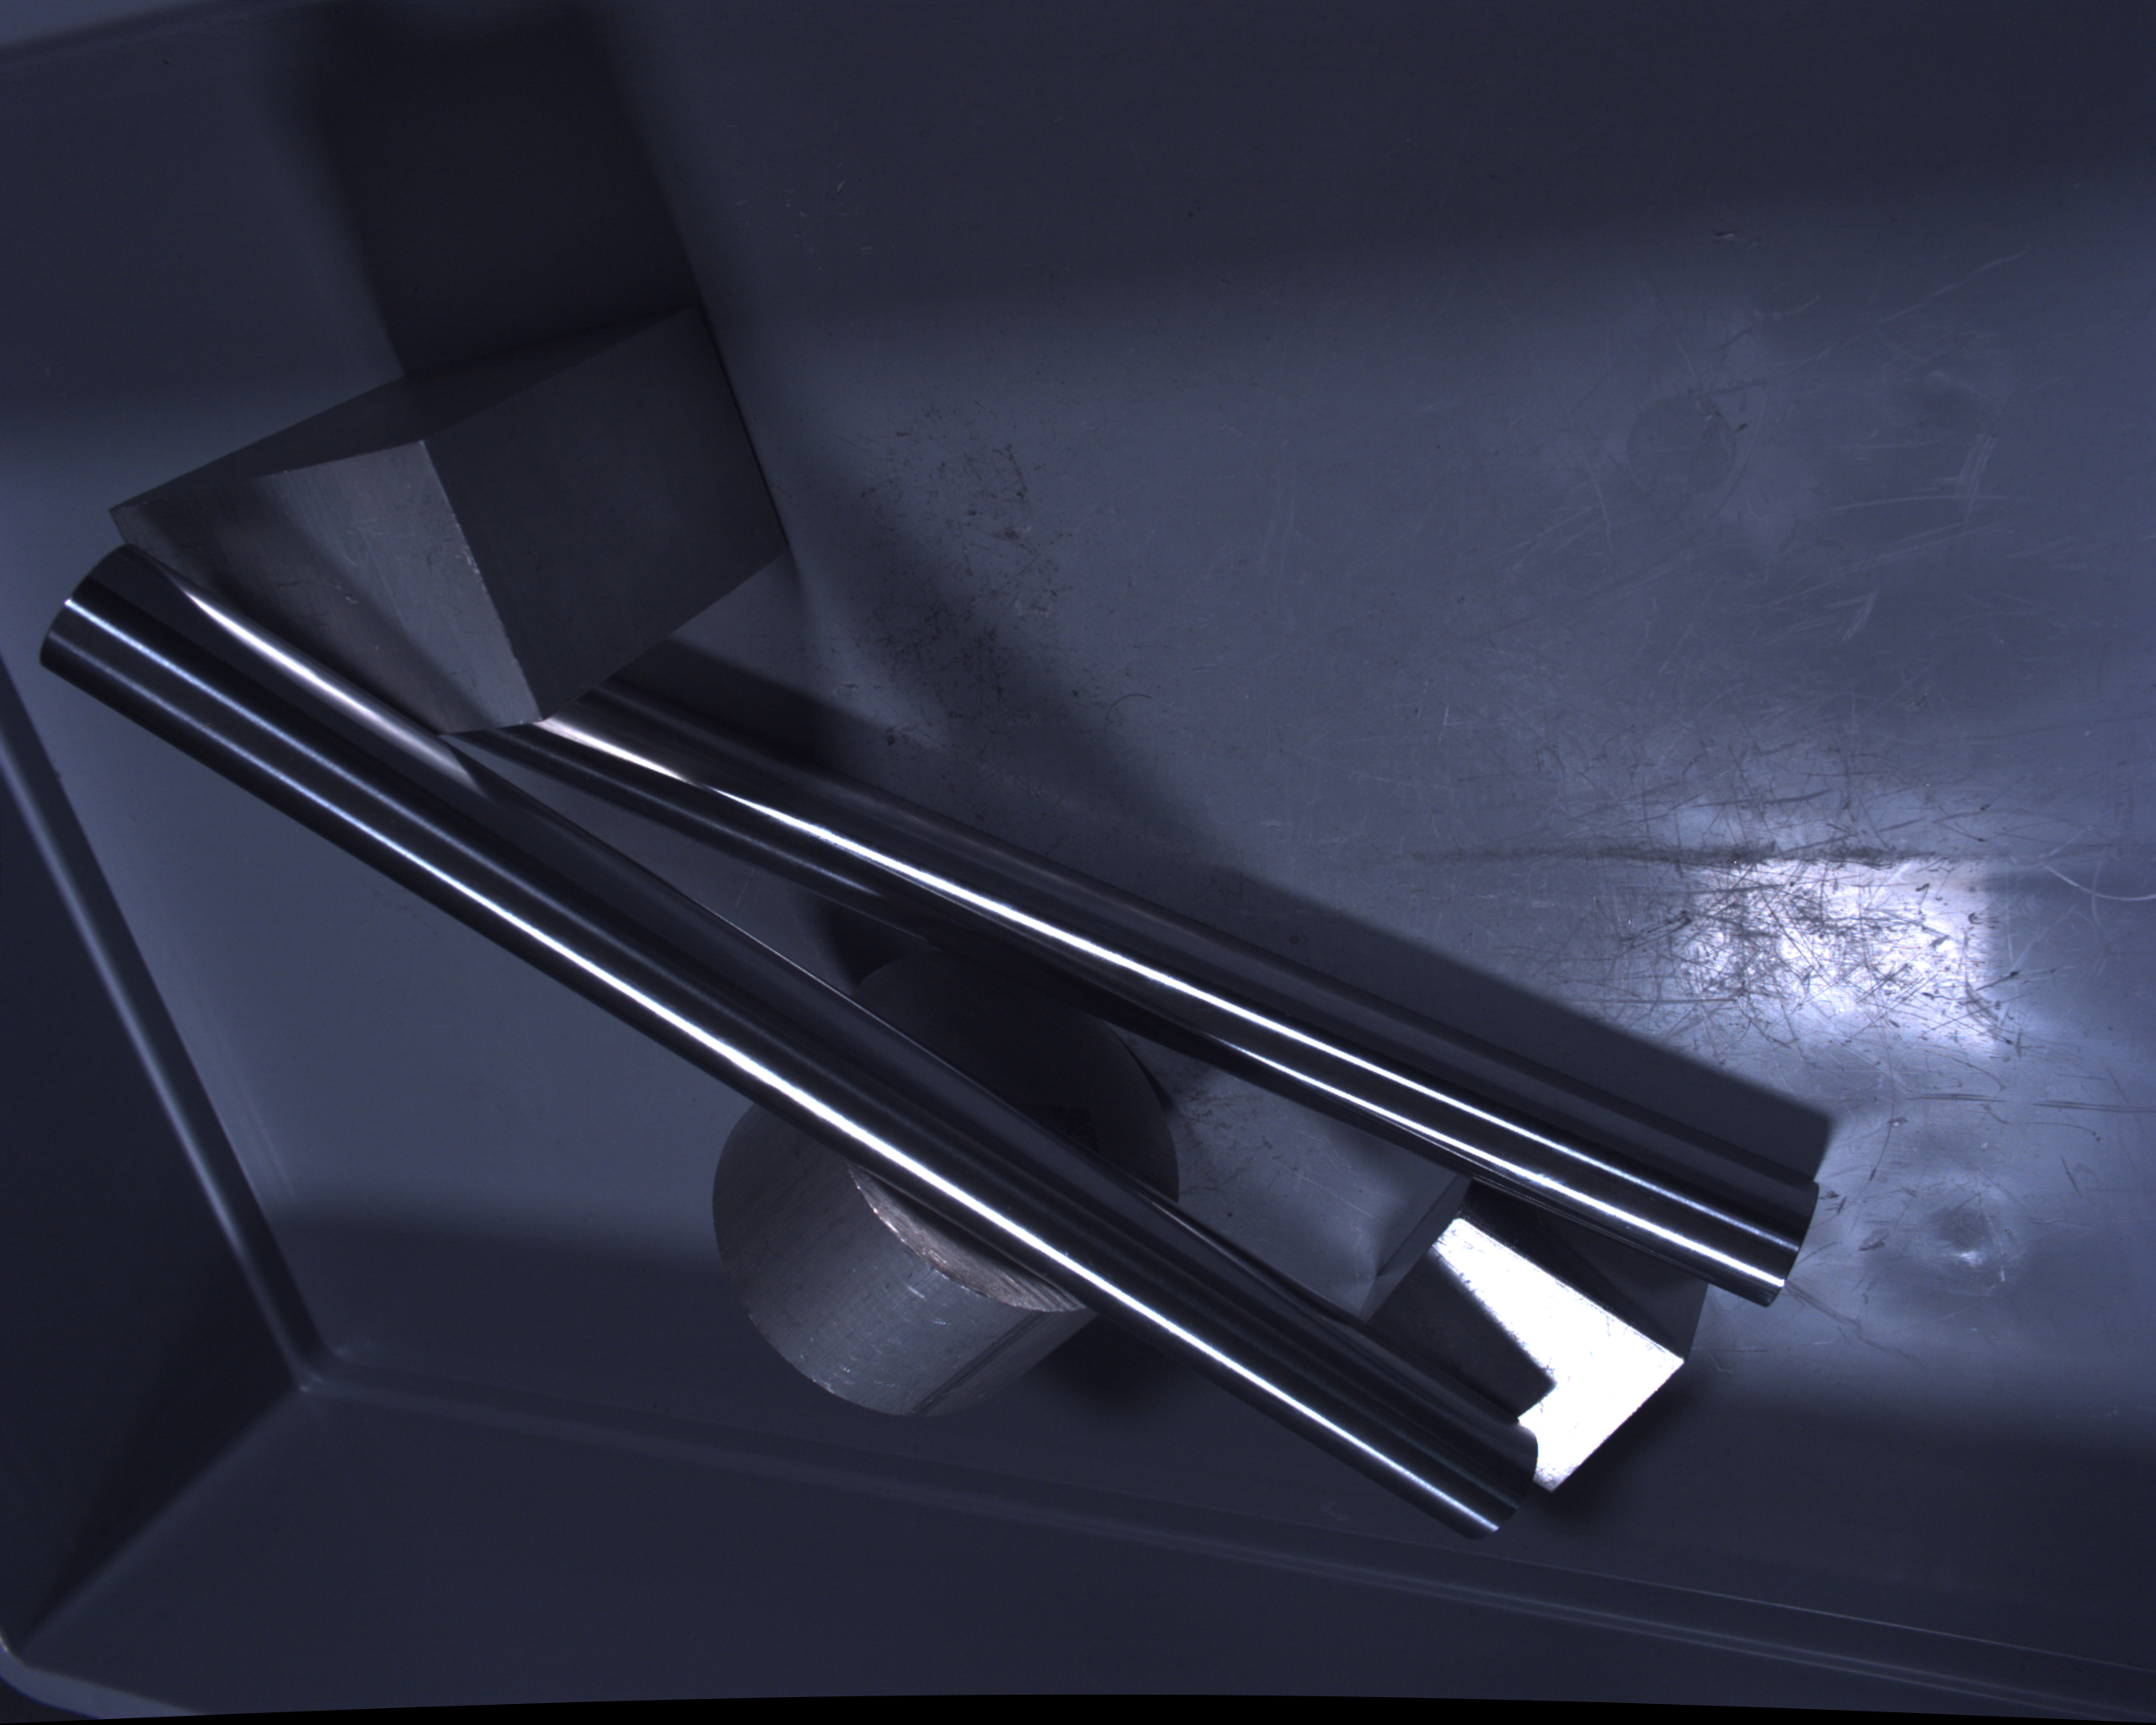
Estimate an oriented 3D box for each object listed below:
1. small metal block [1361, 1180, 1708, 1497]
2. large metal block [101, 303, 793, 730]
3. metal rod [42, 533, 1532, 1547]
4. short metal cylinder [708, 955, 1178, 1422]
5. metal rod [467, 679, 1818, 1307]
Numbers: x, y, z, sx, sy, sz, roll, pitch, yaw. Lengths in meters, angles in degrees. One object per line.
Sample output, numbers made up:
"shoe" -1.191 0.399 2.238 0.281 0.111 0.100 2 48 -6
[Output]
"small metal block" 0.088 0.091 0.416 0.050 0.025 0.050 33 129 6
"large metal block" -0.115 -0.063 0.392 0.080 0.080 0.050 -4 117 29
"metal rod" -0.042 0.038 0.376 0.301 0.025 0.025 34 130 -11
"short metal cylinder" -0.027 0.066 0.424 0.080 0.080 0.050 42 129 -2
"metal rod" -0.005 0.014 0.417 0.301 0.025 0.025 23 127 14
